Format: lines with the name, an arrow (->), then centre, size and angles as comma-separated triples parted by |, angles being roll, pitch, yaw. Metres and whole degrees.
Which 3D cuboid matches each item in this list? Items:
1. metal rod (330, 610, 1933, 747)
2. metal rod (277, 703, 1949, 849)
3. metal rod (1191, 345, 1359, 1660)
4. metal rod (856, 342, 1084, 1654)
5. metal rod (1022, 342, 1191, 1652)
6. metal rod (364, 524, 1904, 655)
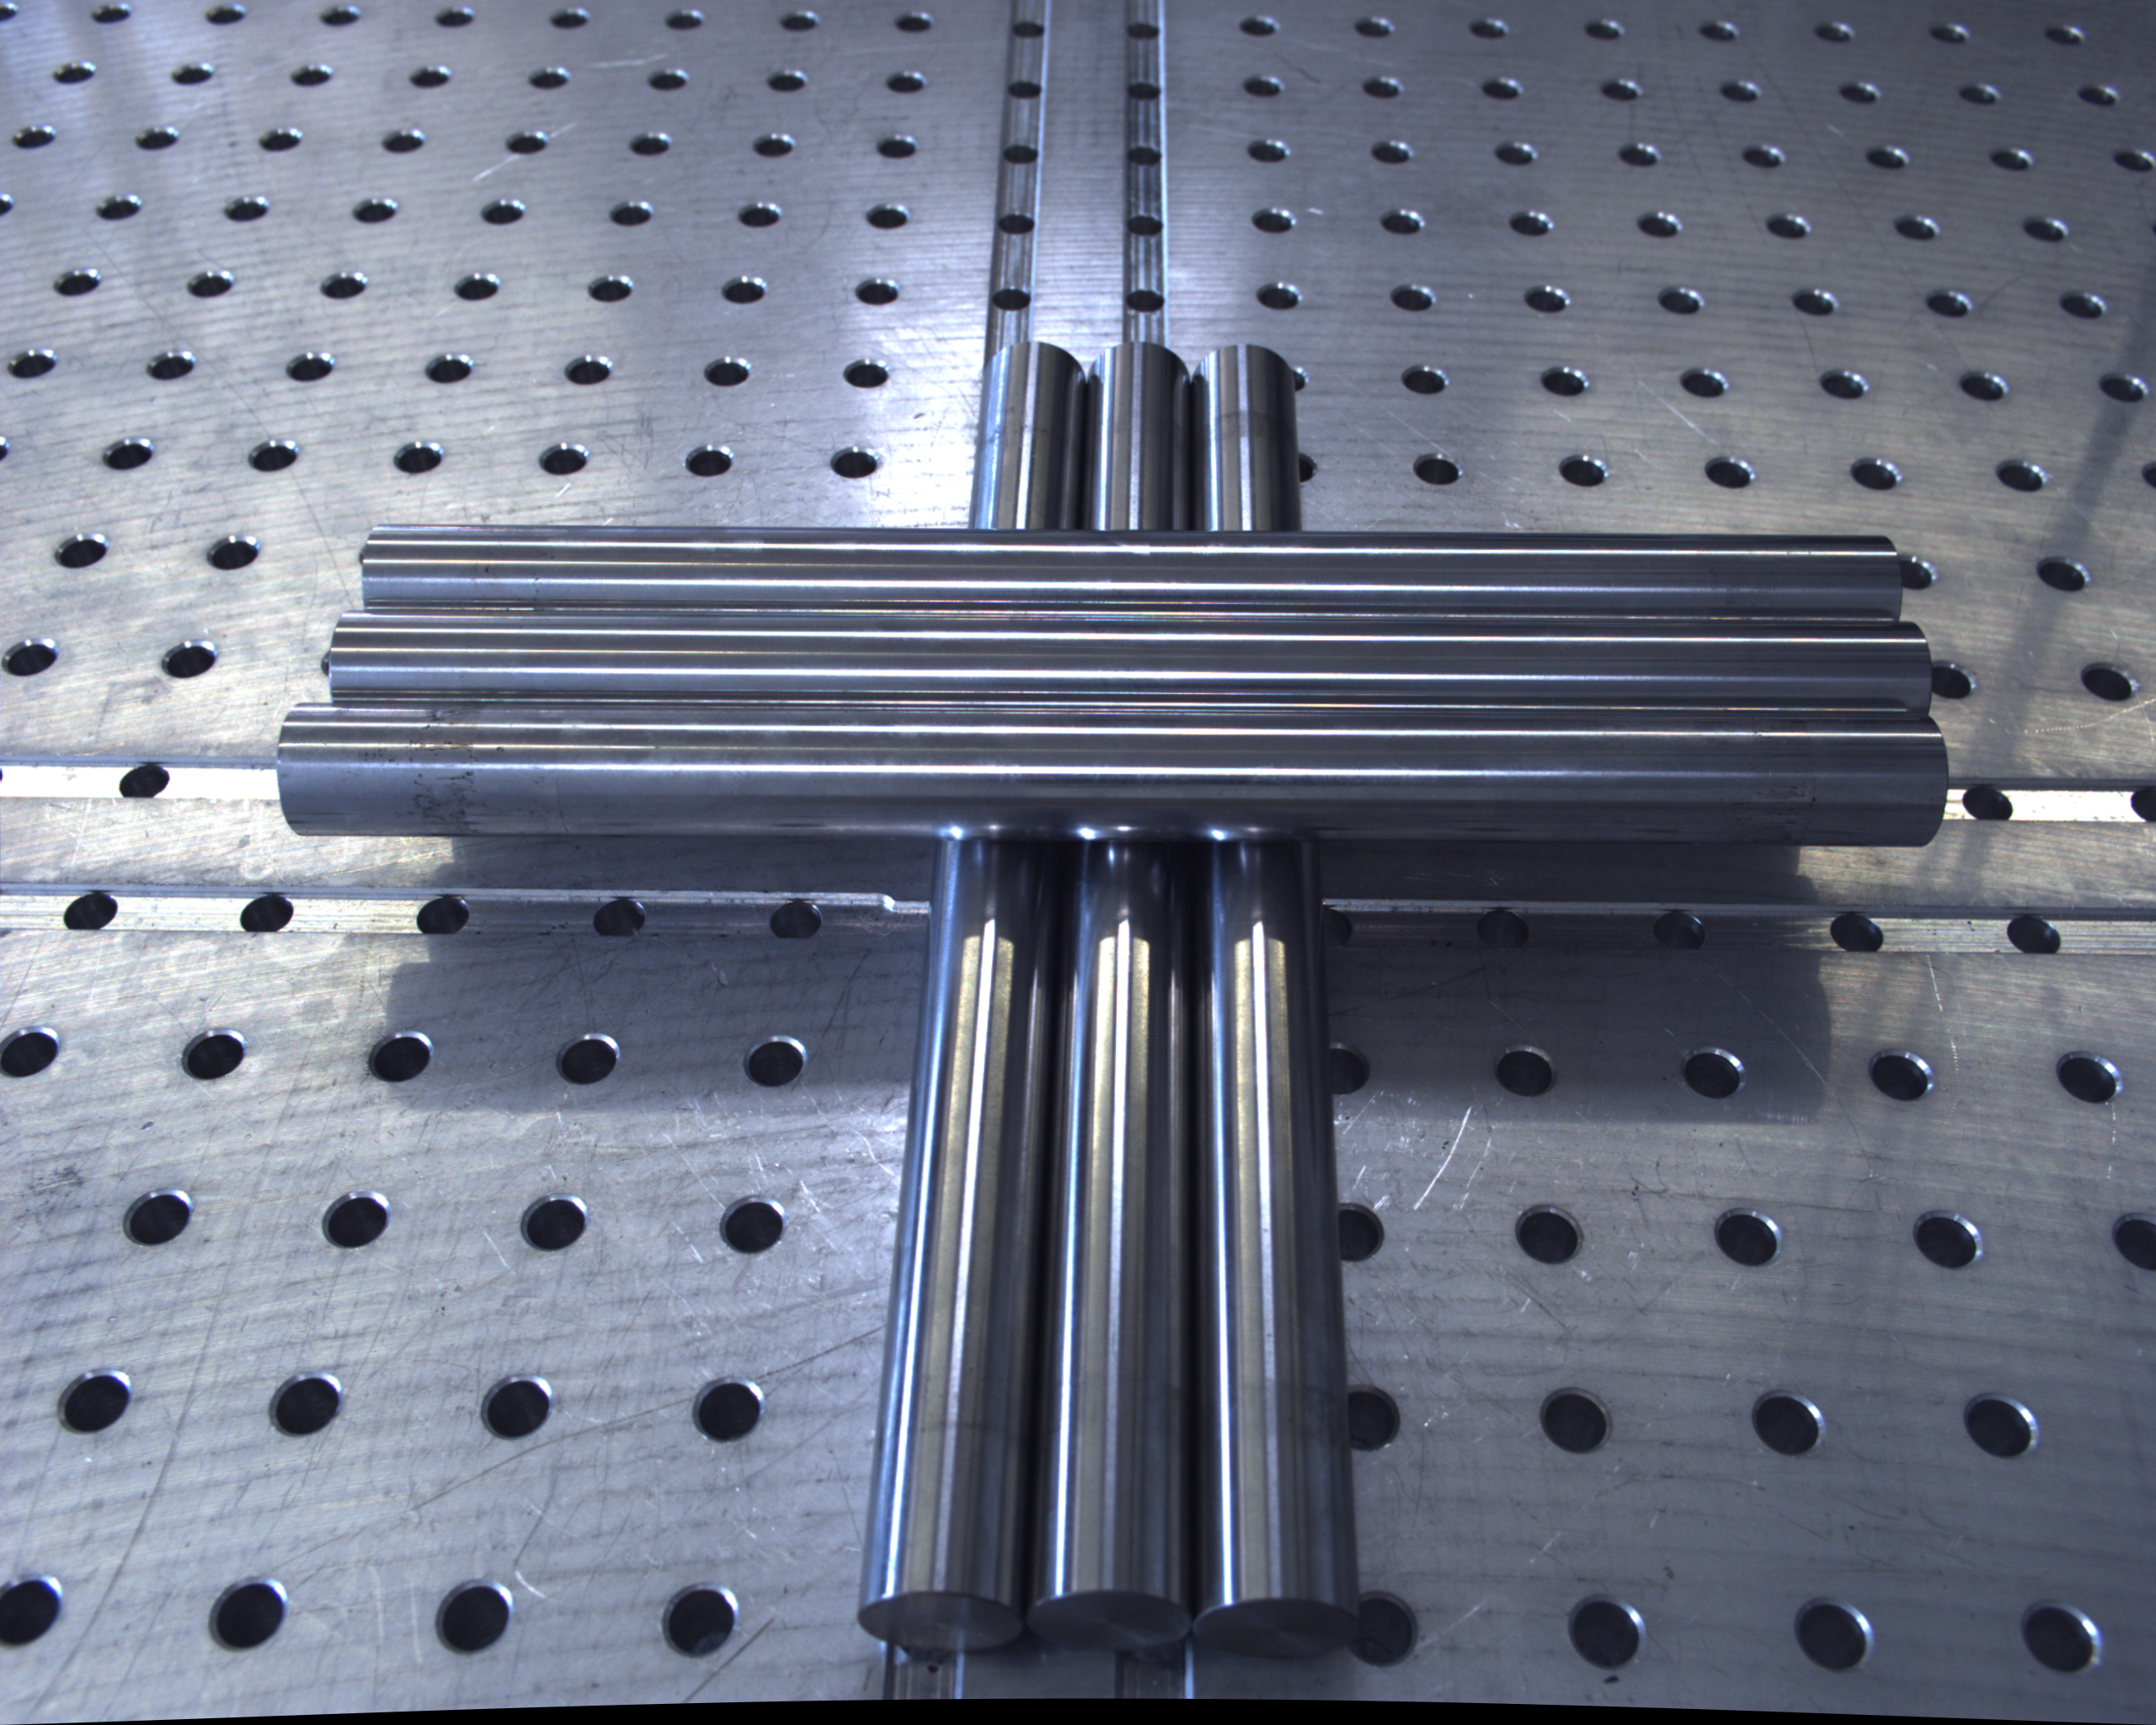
metal rod -> 0.010, -0.035, 0.405 | 0.302, 0.025, 0.025 | 0, 50, 0
metal rod -> 0.006, -0.016, 0.389 | 0.302, 0.025, 0.025 | 0, 50, 0
metal rod -> 0.035, 0.000, 0.408 | 0.025, 0.025, 0.300 | 2, 50, 1
metal rod -> -0.015, -0.001, 0.408 | 0.025, 0.025, 0.300 | 2, 50, 1
metal rod -> 0.010, -0.001, 0.409 | 0.025, 0.025, 0.300 | 2, 50, 1
metal rod -> 0.011, -0.055, 0.421 | 0.302, 0.025, 0.025 | 0, 50, 0
